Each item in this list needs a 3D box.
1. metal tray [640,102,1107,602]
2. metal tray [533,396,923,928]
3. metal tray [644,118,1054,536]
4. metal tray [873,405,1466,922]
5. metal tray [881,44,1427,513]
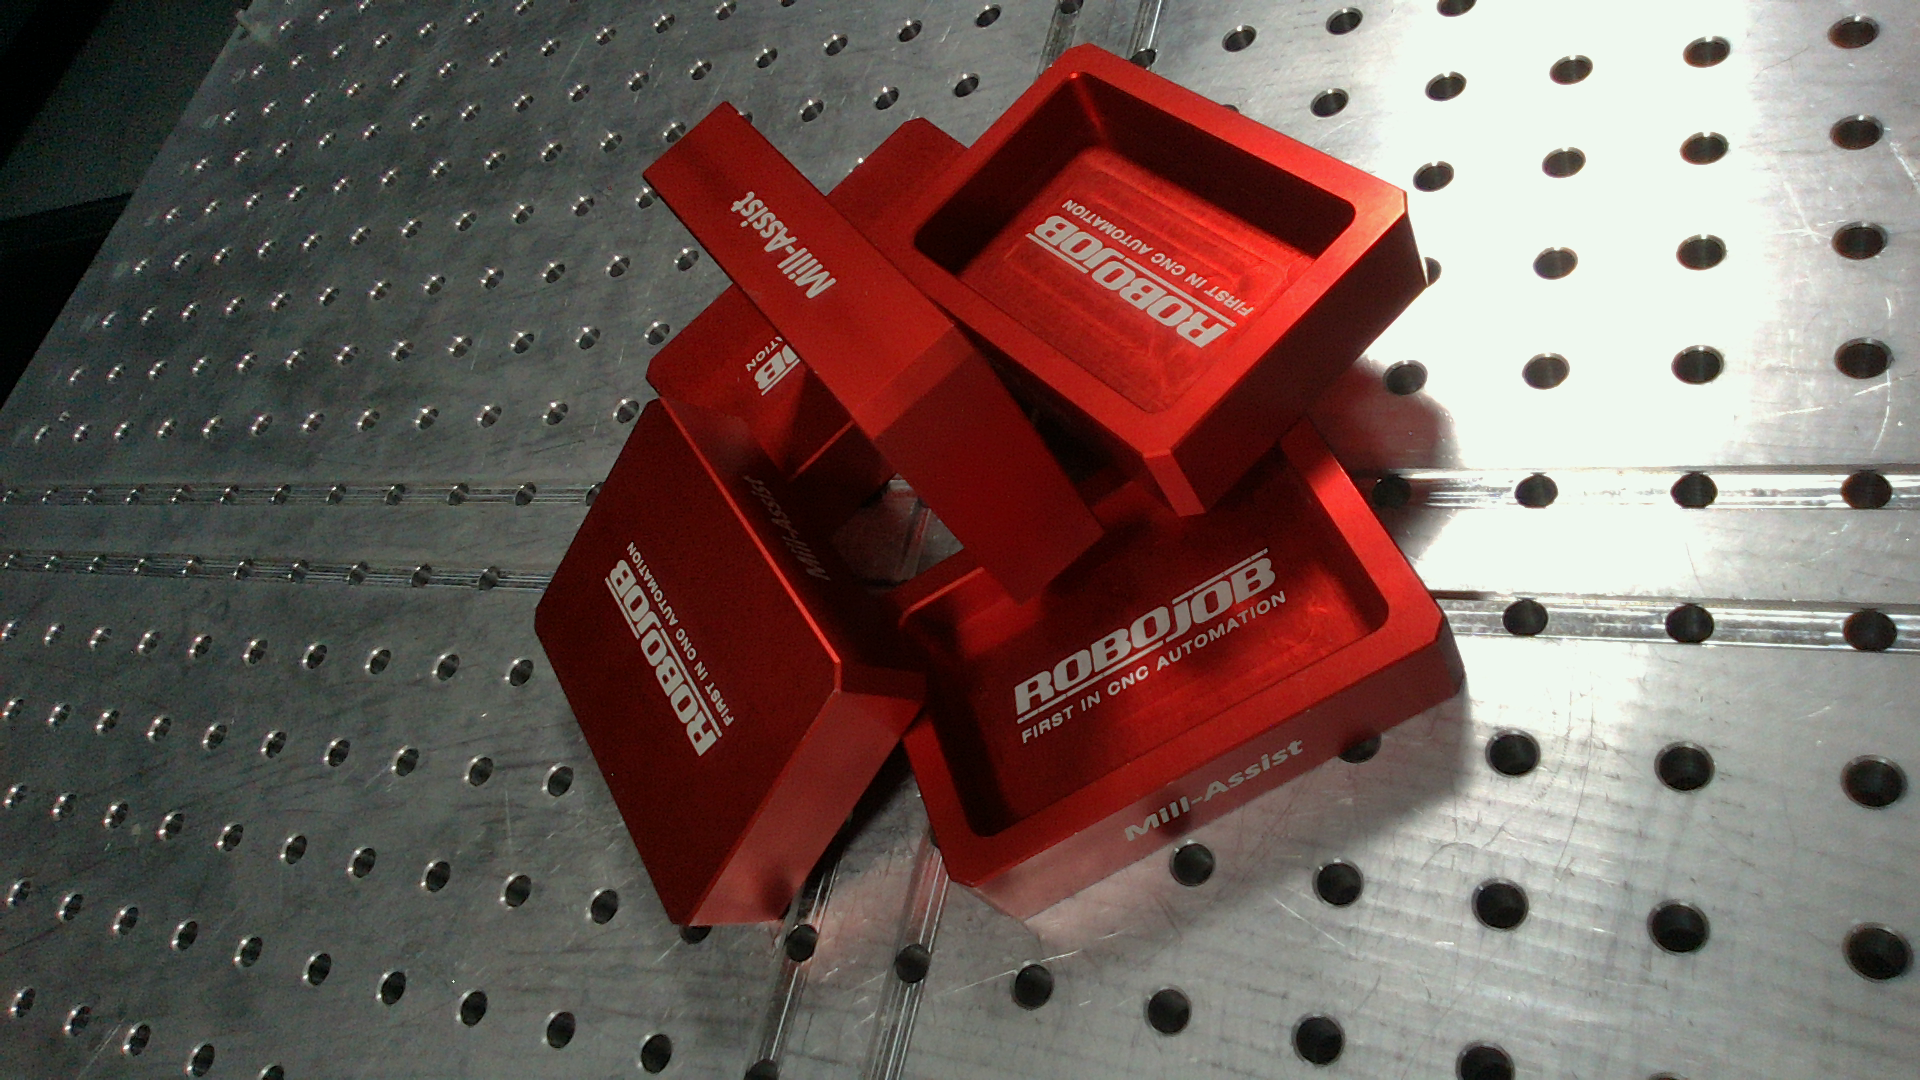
[{"bbox_3d":[-0.024,-0.050,0.358,0.030,0.090,0.130,-42,51,0],"label":"metal tray"},{"bbox_3d":[-0.072,0.031,0.389,0.090,0.030,0.130,-57,47,20],"label":"metal tray"},{"bbox_3d":[-0.033,-0.071,0.454,0.130,0.030,0.090,-43,51,-2],"label":"metal tray"},{"bbox_3d":[0.047,0.026,0.350,0.130,0.030,0.090,-30,52,9],"label":"metal tray"},{"bbox_3d":[0.047,-0.077,0.376,0.090,0.030,0.130,-45,51,-3],"label":"metal tray"}]
